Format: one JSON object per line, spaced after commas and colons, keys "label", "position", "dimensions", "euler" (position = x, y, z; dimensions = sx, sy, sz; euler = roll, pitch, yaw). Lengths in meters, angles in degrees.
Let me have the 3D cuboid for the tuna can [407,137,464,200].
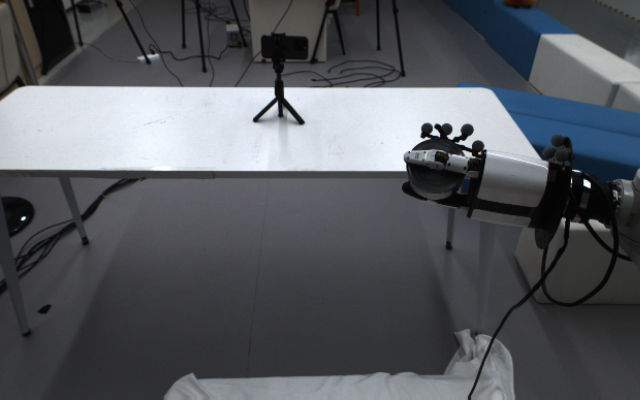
{"label": "tuna can", "position": [0.171, -0.049, 0.710], "dimensions": [0.085, 0.034, 0.085], "euler": [-4, 66, 10]}
